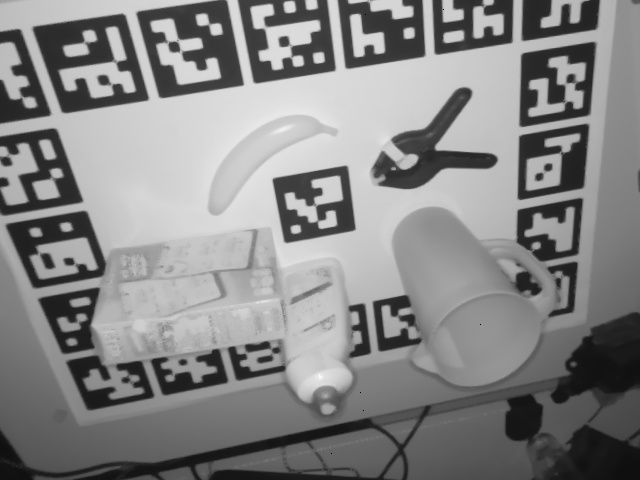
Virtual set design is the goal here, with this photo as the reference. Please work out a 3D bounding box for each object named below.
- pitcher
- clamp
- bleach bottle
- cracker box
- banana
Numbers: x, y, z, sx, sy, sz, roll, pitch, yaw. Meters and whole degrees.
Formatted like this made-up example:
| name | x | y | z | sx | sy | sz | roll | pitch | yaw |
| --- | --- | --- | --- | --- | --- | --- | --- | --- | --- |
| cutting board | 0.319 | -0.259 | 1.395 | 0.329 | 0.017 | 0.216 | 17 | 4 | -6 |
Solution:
| name | x | y | z | sx | sy | sz | roll | pitch | yaw |
| --- | --- | --- | --- | --- | --- | --- | --- | --- | --- |
| pitcher | 0.216 | 0.074 | 0.878 | 0.188 | 0.244 | 0.133 | -22 | 122 | 7 |
| clamp | 0.179 | -0.100 | 0.916 | 0.165 | 0.037 | 0.121 | -21 | 123 | 5 |
| bleach bottle | 0.031 | 0.123 | 0.896 | 0.103 | 0.251 | 0.067 | -7 | 122 | -5 |
| cracker box | -0.131 | 0.066 | 0.866 | 0.215 | 0.165 | 0.071 | -7 | 124 | -7 |
| banana | -0.042 | -0.095 | 0.888 | 0.196 | 0.039 | 0.074 | -37 | 120 | 12 |
